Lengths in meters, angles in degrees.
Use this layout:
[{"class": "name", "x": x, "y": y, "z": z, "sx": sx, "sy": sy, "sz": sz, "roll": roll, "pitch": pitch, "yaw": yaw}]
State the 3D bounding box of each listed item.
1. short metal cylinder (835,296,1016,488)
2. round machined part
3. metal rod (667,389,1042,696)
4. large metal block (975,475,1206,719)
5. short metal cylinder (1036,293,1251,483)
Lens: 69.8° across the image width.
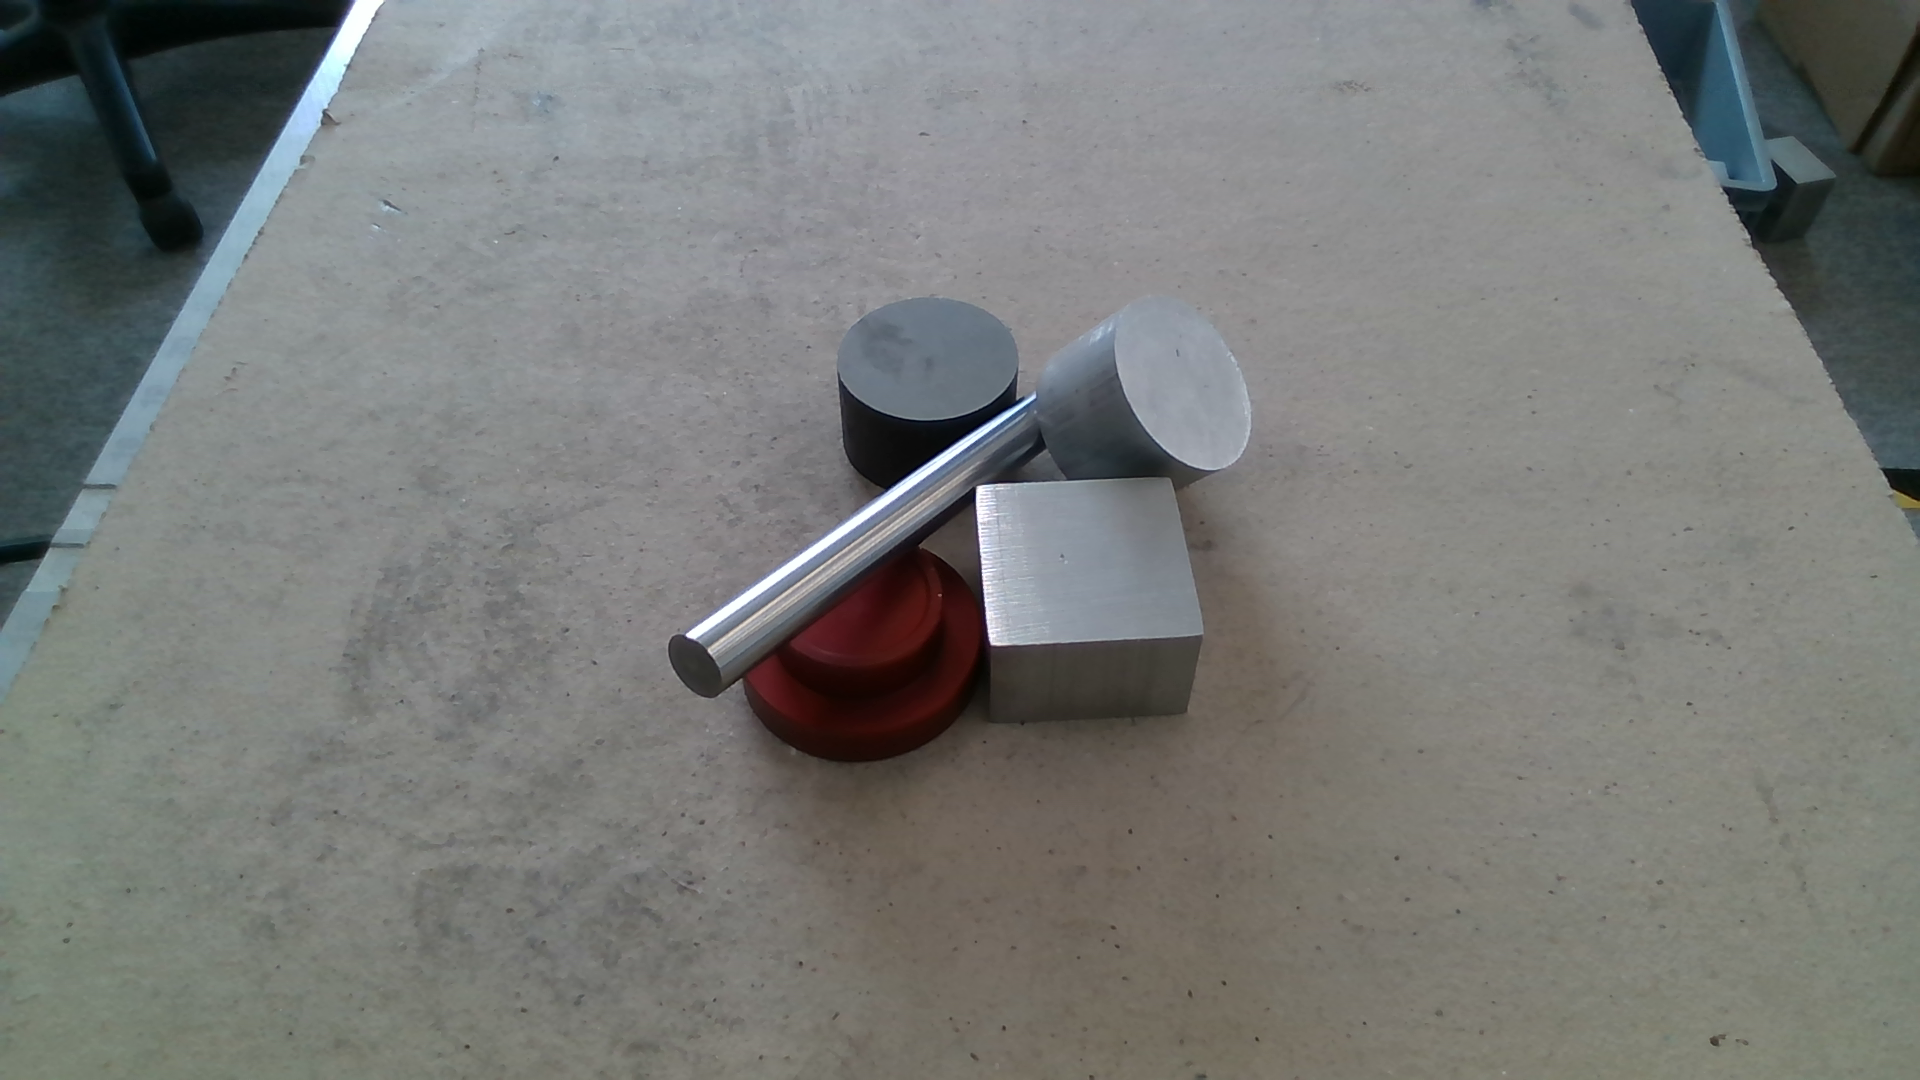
[{"class": "short metal cylinder", "x": -0.015, "y": -0.066, "z": 0.627, "sx": 0.080, "sy": 0.050, "sz": 0.080, "roll": 0, "pitch": 50, "yaw": 0}, {"class": "round machined part", "x": -0.041, "y": 0.034, "z": 0.547, "sx": 0.098, "sy": 0.042, "sz": 0.098, "roll": 0, "pitch": 50, "yaw": 0}, {"class": "metal rod", "x": -0.003, "y": -0.026, "z": 0.565, "sx": 0.025, "sy": 0.025, "sz": 0.299, "roll": 30, "pitch": 43, "yaw": 23}, {"class": "large metal block", "x": 0.049, "y": 0.022, "z": 0.550, "sx": 0.080, "sy": 0.050, "sz": 0.080, "roll": -3, "pitch": 50, "yaw": -2}, {"class": "short metal cylinder", "x": 0.080, "y": -0.059, "z": 0.596, "sx": 0.080, "sy": 0.050, "sz": 0.080, "roll": 16, "pitch": 62, "yaw": -33}]
